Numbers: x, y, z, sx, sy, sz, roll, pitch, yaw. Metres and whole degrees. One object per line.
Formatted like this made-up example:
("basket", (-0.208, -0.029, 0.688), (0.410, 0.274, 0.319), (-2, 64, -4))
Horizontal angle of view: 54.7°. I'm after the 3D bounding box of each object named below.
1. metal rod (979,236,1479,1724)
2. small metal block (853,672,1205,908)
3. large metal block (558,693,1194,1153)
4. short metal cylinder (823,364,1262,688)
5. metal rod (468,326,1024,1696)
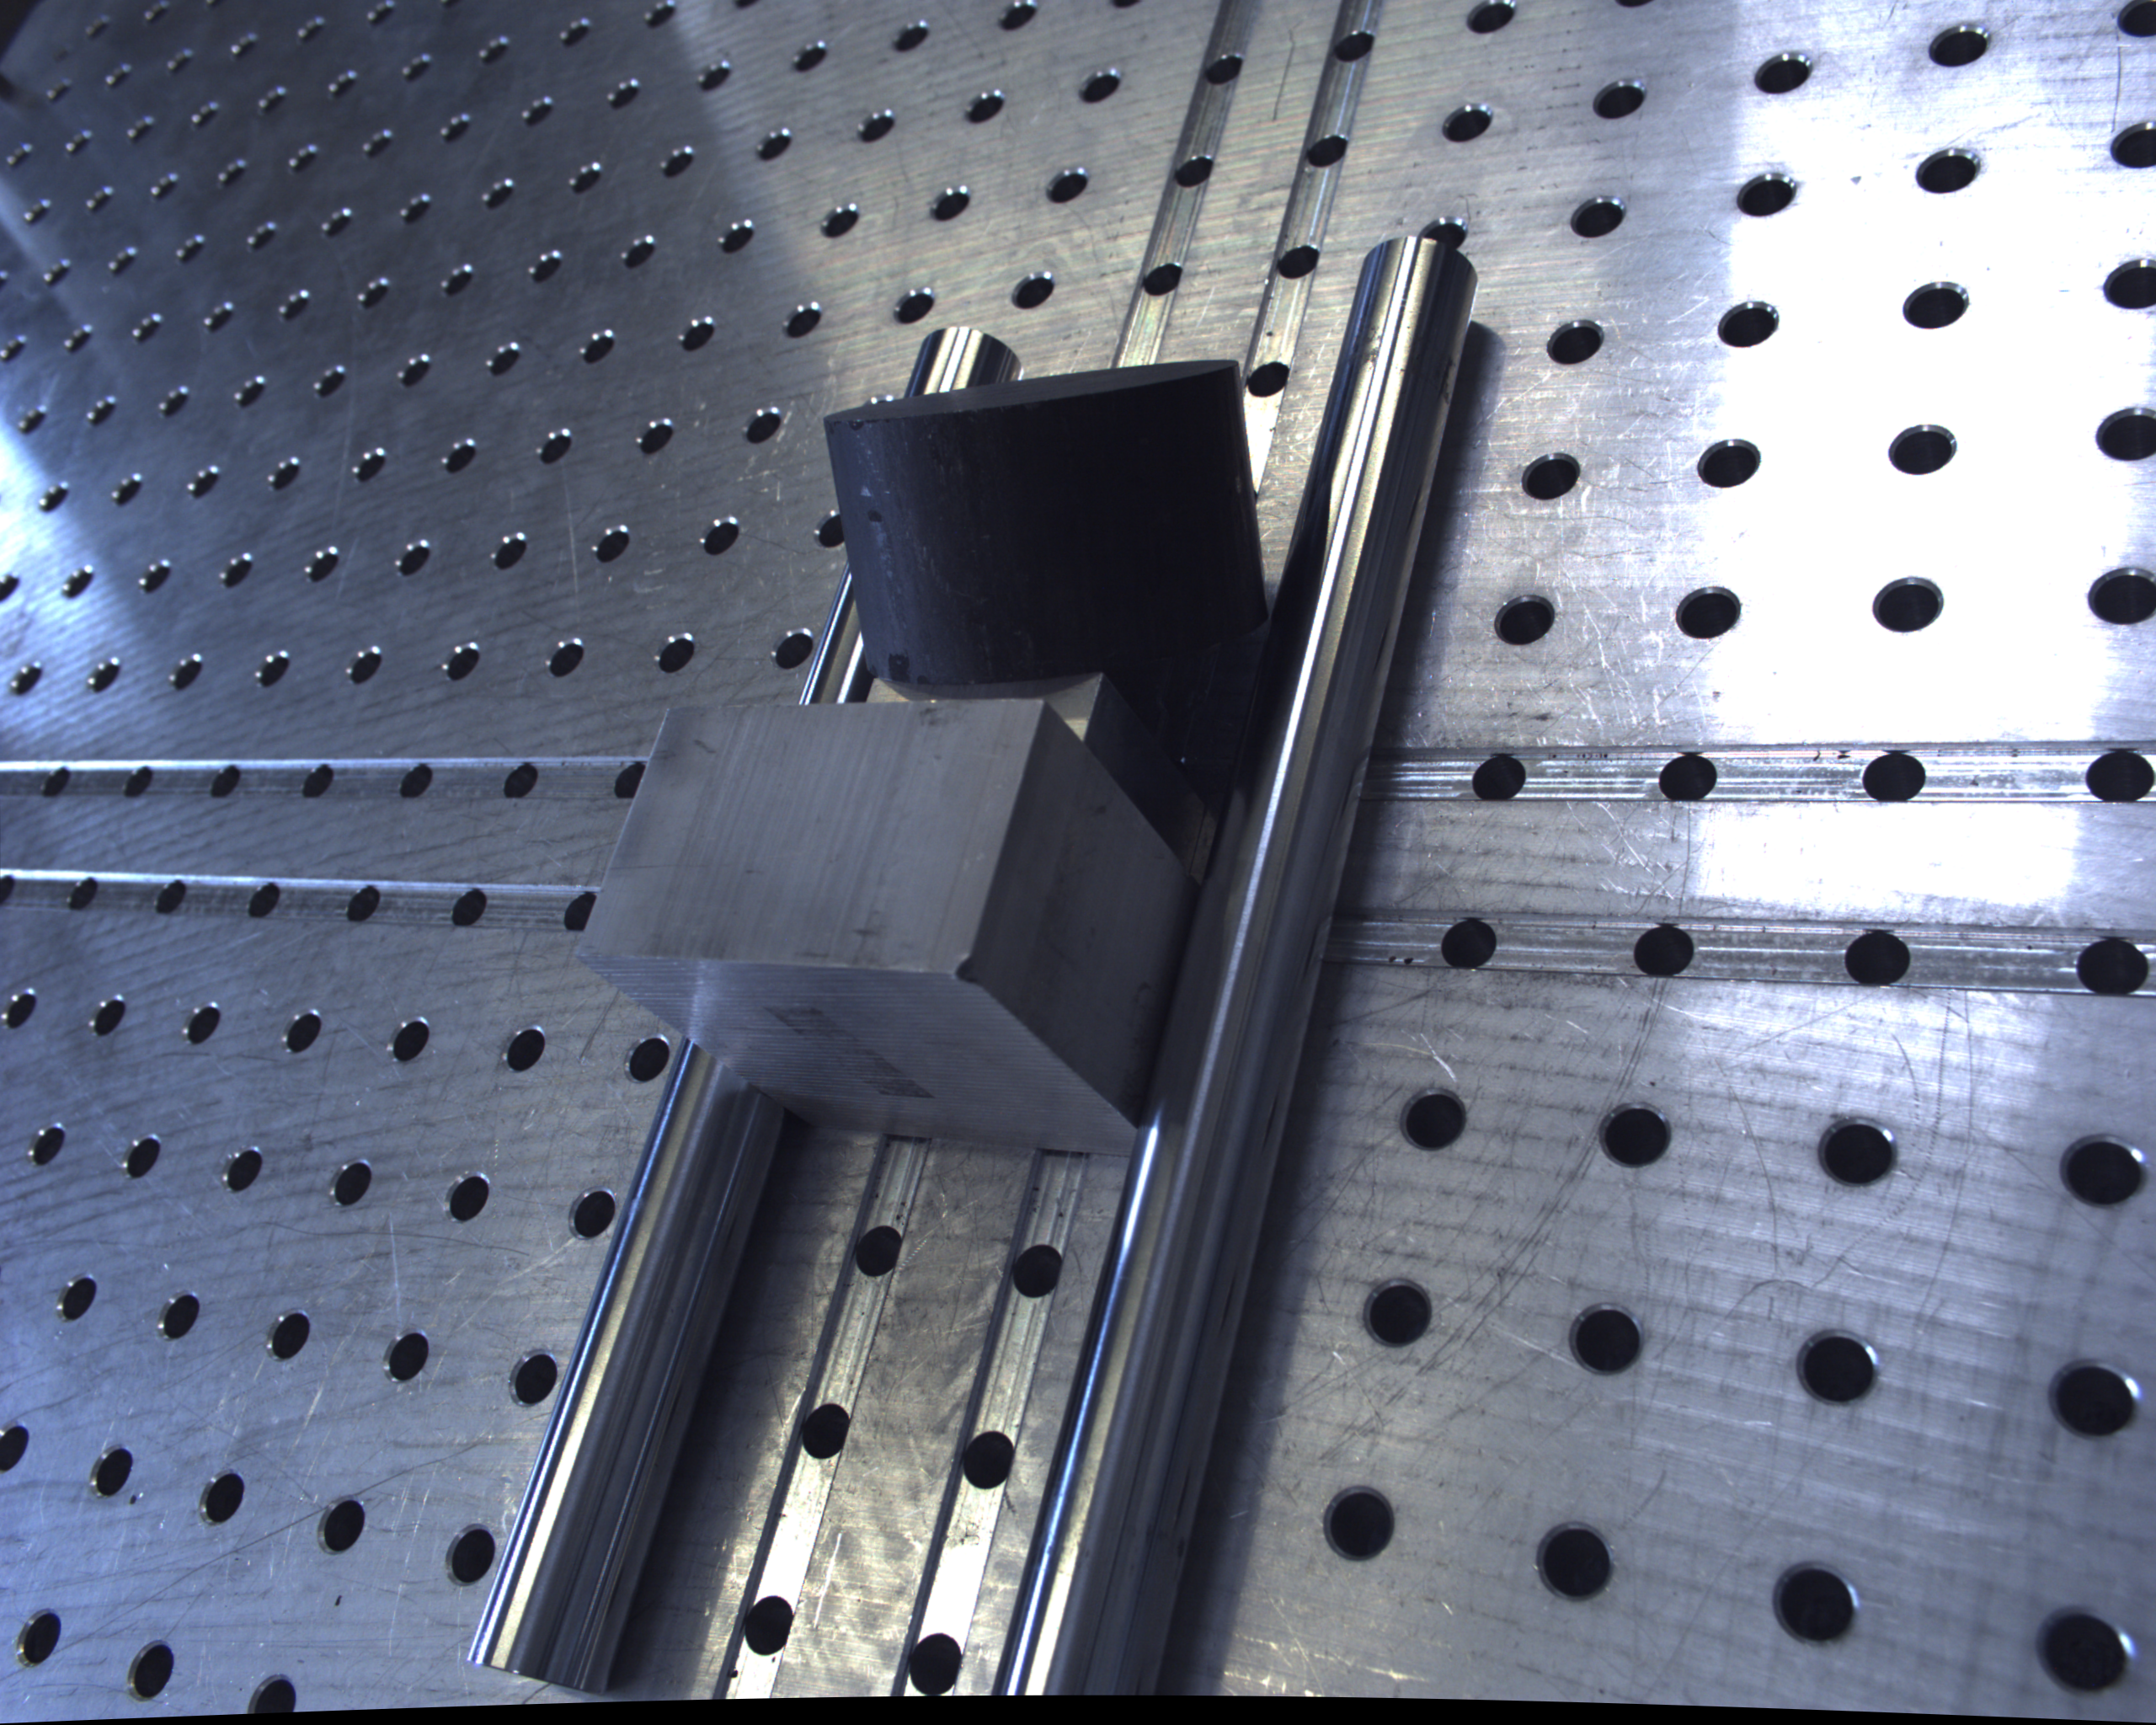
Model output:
("metal rod", (0.035, 0.006, 0.386), (0.025, 0.025, 0.300), (2, 62, 29))
("small metal block", (-0.010, -0.013, 0.405), (0.050, 0.050, 0.025), (2, 63, 28))
("large metal block", (-0.031, 0.013, 0.378), (0.080, 0.080, 0.050), (1, 62, 28))
("short metal cylinder", (-0.006, -0.068, 0.410), (0.080, 0.050, 0.080), (-7, 16, 2))
("metal rod", (-0.060, 0.013, 0.432), (0.025, 0.025, 0.300), (1, 62, 28))
